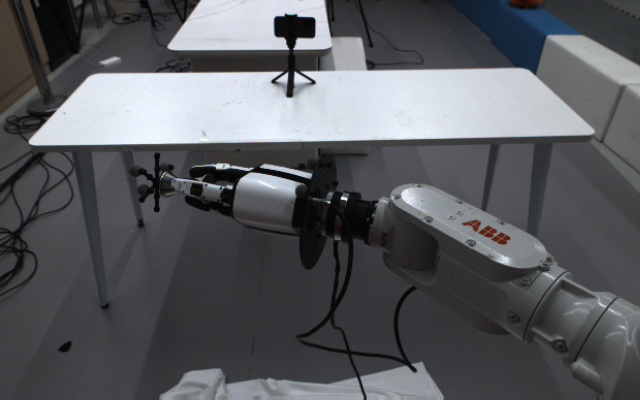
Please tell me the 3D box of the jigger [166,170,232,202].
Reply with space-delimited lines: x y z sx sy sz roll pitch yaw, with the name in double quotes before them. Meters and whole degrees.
"jigger" -0.185 -0.023 0.705 0.071 0.043 0.043 6 34 15
